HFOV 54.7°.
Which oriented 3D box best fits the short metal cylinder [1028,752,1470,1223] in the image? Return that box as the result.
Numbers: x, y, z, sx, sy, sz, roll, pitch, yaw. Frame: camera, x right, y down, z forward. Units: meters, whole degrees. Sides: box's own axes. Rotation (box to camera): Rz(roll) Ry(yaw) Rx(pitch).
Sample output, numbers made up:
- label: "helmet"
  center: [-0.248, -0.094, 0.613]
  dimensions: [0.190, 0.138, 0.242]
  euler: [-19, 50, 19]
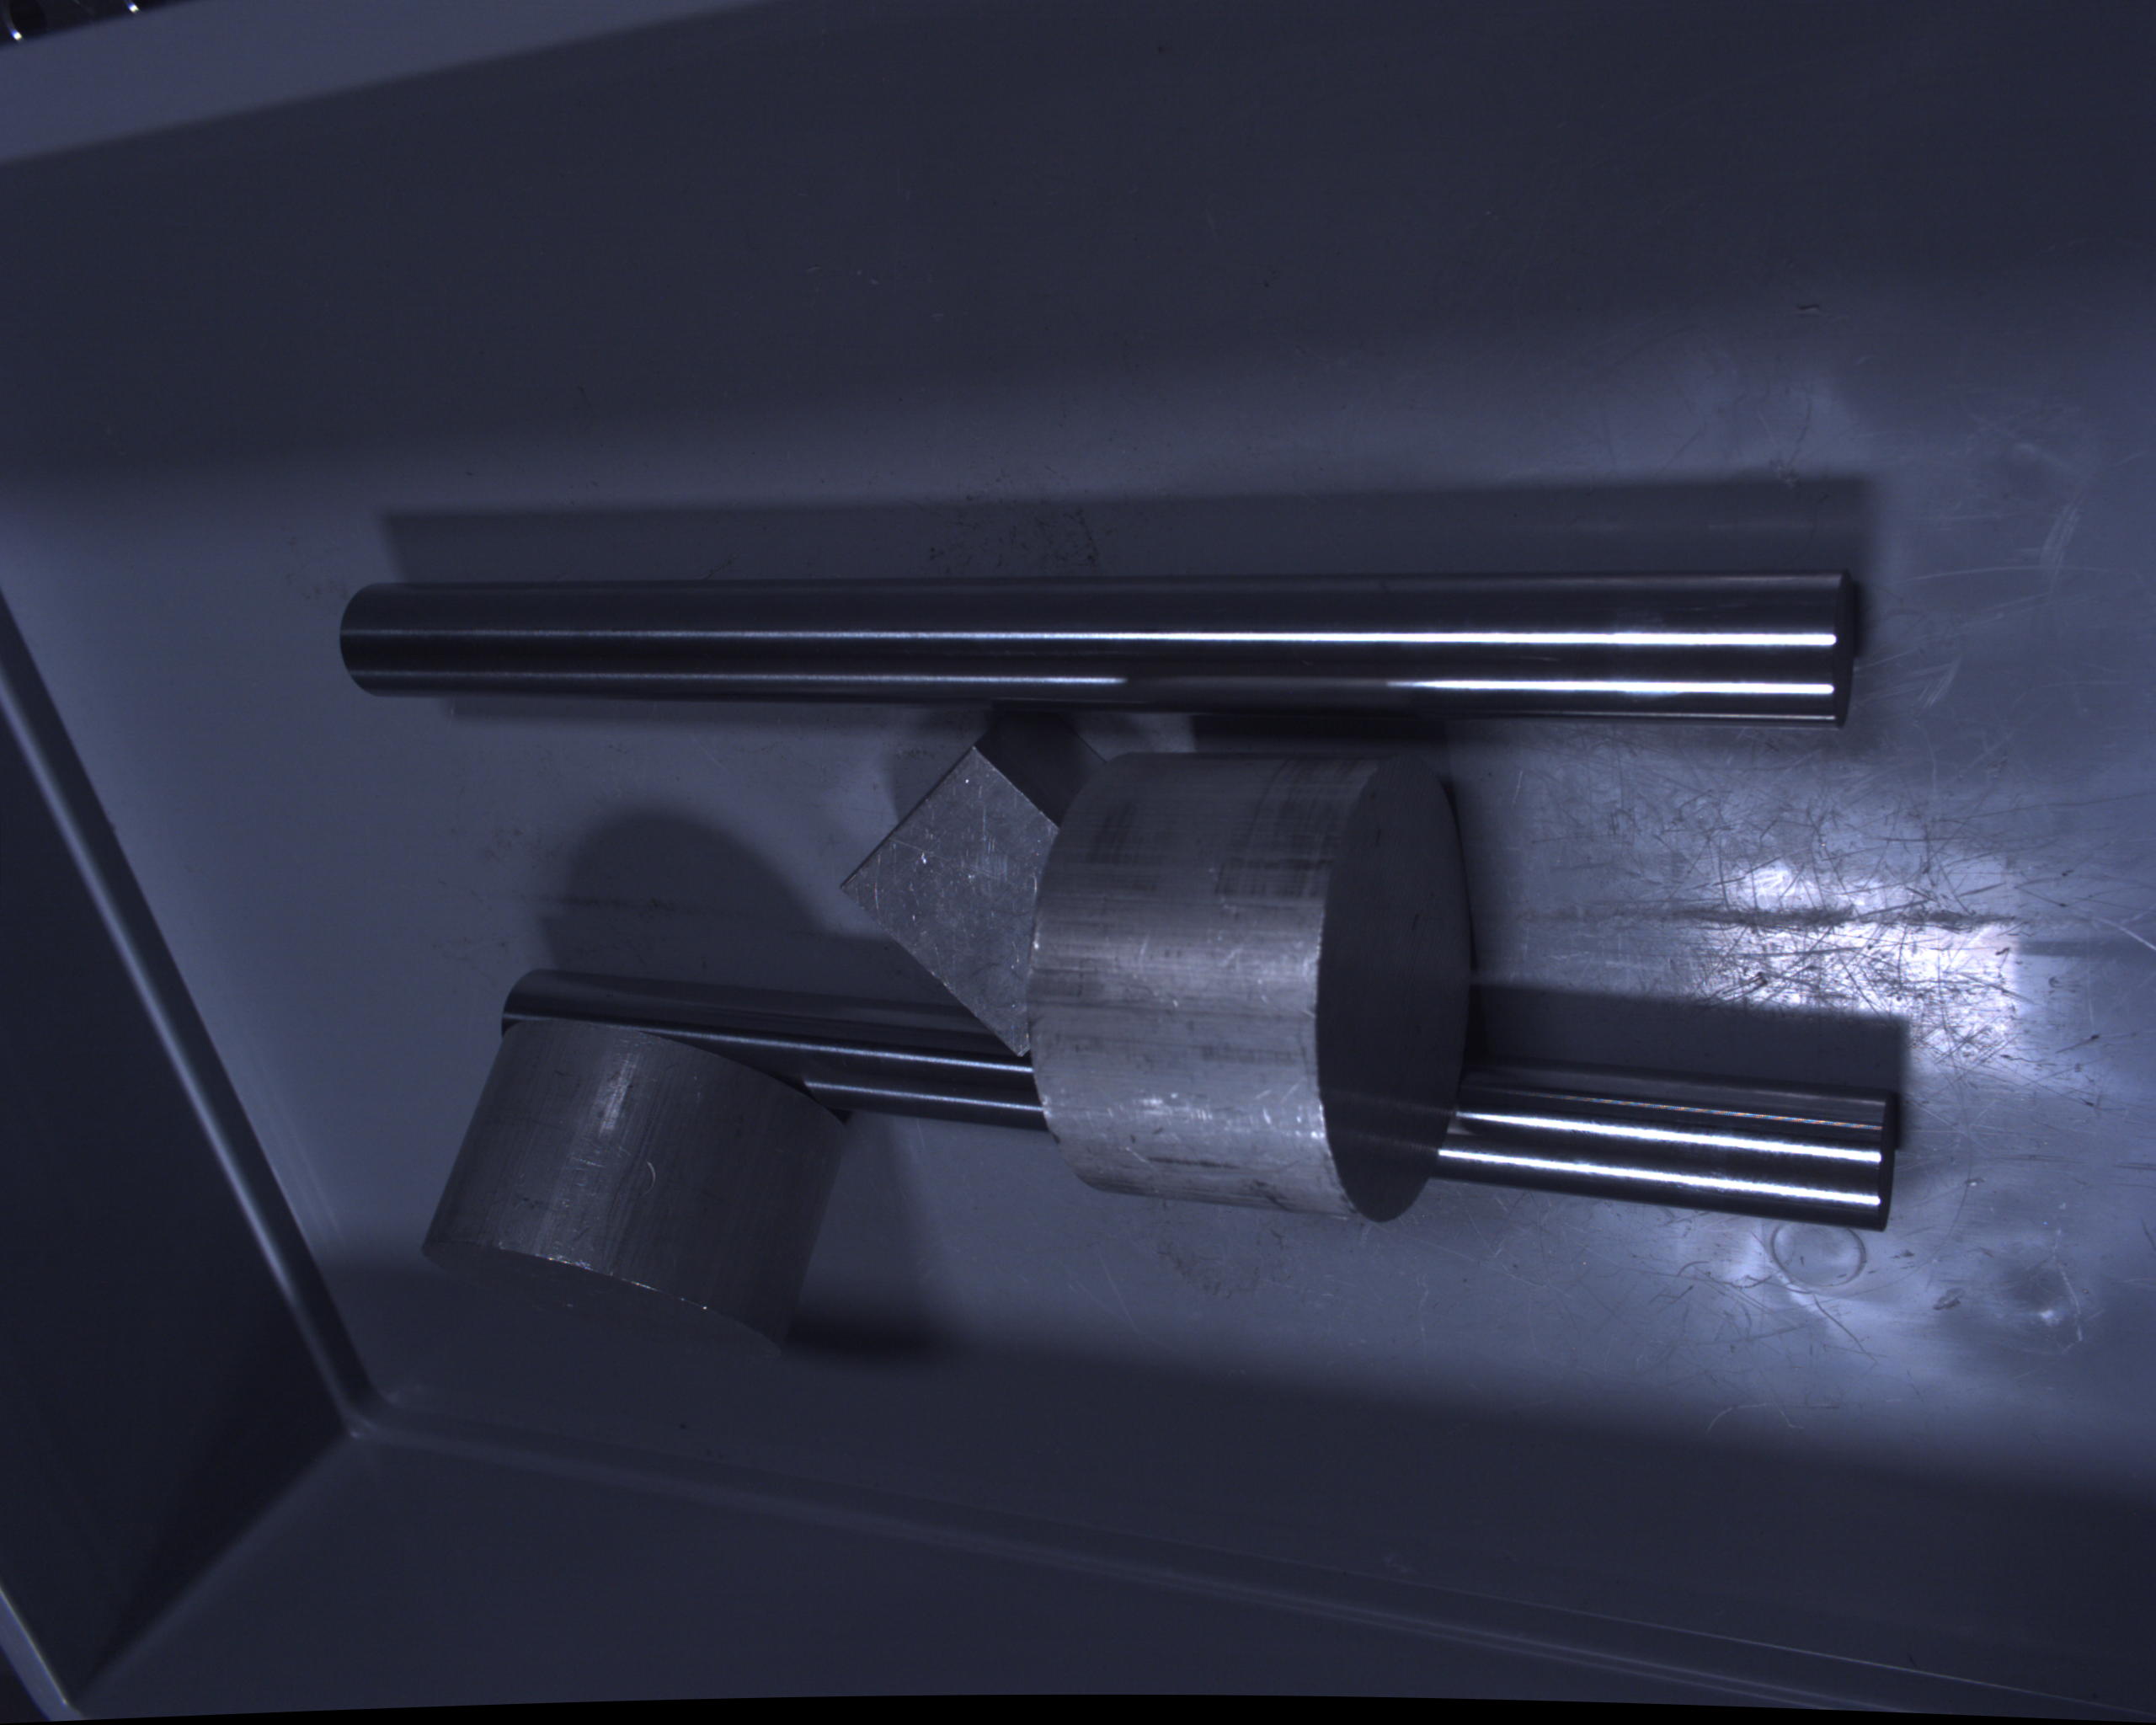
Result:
- label: "short metal cylinder"
  center: [0.033, 0.020, 0.366]
  dimensions: [0.050, 0.080, 0.079]
  euler: [2, 119, 27]

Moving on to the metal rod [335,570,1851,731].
- label: "metal rod"
  center: [-0.017, -0.041, 0.388]
  dimensions: [0.301, 0.025, 0.025]
  euler: [3, 120, 26]

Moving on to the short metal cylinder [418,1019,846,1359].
- label: "short metal cylinder"
  center: [-0.098, 0.074, 0.463]
  dimensions: [0.080, 0.050, 0.080]
  euler: [13, 157, 6]

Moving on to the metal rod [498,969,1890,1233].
- label: "metal rod"
  center: [0.006, 0.045, 0.429]
  dimensions: [0.301, 0.025, 0.025]
  euler: [3, 120, 26]

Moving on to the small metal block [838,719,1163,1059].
- label: "small metal block"
  center: [-0.011, 0.003, 0.413]
  dimensions: [0.050, 0.025, 0.050]
  euler: [44, 129, -3]
